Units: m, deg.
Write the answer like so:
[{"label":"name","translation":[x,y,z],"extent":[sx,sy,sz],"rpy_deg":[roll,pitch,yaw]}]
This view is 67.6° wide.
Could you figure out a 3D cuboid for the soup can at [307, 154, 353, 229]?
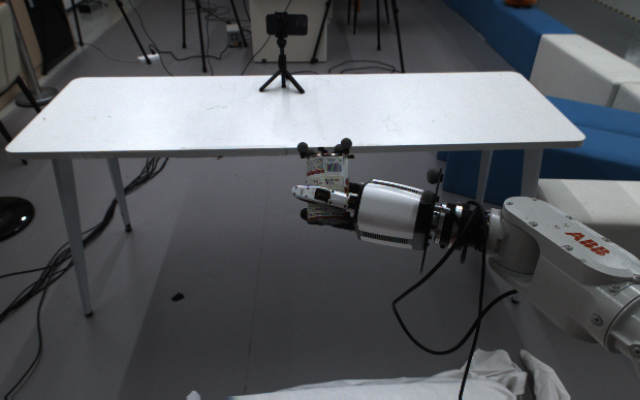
[{"label":"soup can","translation":[0.013,-0.015,0.743],"extent":[0.067,0.101,0.067],"rpy_deg":[-1,-9,0]}]
